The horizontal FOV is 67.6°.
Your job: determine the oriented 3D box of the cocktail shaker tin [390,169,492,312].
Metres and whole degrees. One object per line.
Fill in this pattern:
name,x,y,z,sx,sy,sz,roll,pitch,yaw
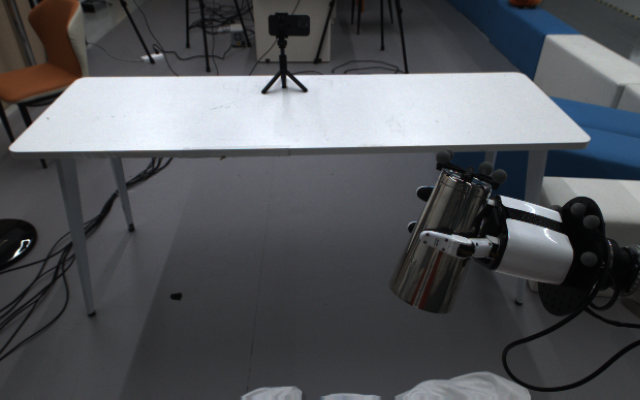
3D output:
cocktail shaker tin,0.162,0.050,0.635,0.093,0.170,0.093,15,17,-5
